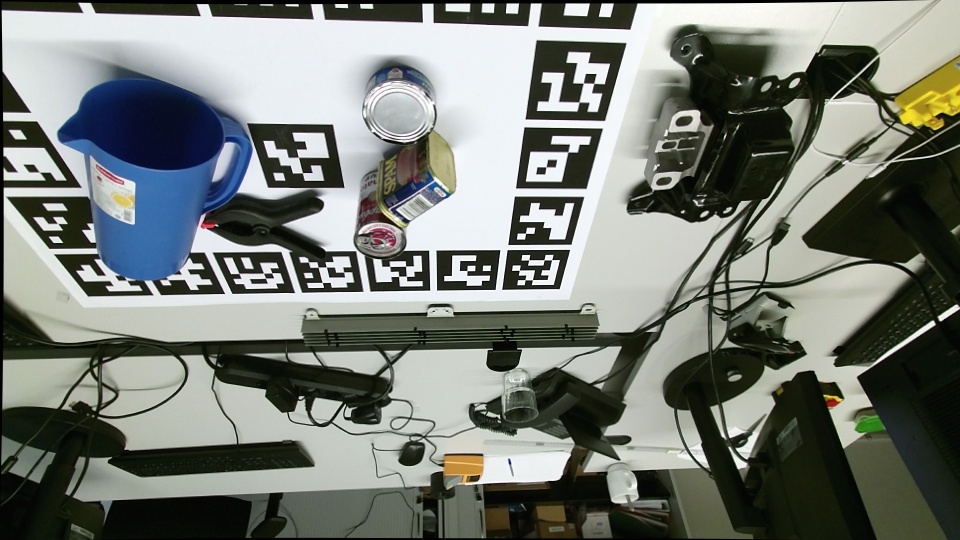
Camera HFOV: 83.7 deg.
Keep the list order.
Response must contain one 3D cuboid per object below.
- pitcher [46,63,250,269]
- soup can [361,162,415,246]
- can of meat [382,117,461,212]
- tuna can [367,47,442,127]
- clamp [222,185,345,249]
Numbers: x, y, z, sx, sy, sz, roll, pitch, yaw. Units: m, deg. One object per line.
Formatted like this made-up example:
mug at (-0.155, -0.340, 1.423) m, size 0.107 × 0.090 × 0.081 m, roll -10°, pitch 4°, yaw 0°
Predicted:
pitcher at (-0.387, -0.108, 0.642) m, size 0.189 × 0.132 × 0.243 m, roll -4°, pitch 150°, yaw -35°
soup can at (-0.122, -0.090, 0.717) m, size 0.068 × 0.101 × 0.068 m, roll -5°, pitch 136°, yaw -5°
can of meat at (-0.071, -0.134, 0.668) m, size 0.084 × 0.101 × 0.058 m, roll -29°, pitch 131°, yaw 18°
tuna can at (-0.088, -0.216, 0.632) m, size 0.086 × 0.033 × 0.086 m, roll -3°, pitch 136°, yaw -3°
clamp at (-0.285, -0.079, 0.774) m, size 0.166 × 0.036 × 0.122 m, roll 3°, pitch 141°, yaw -4°
